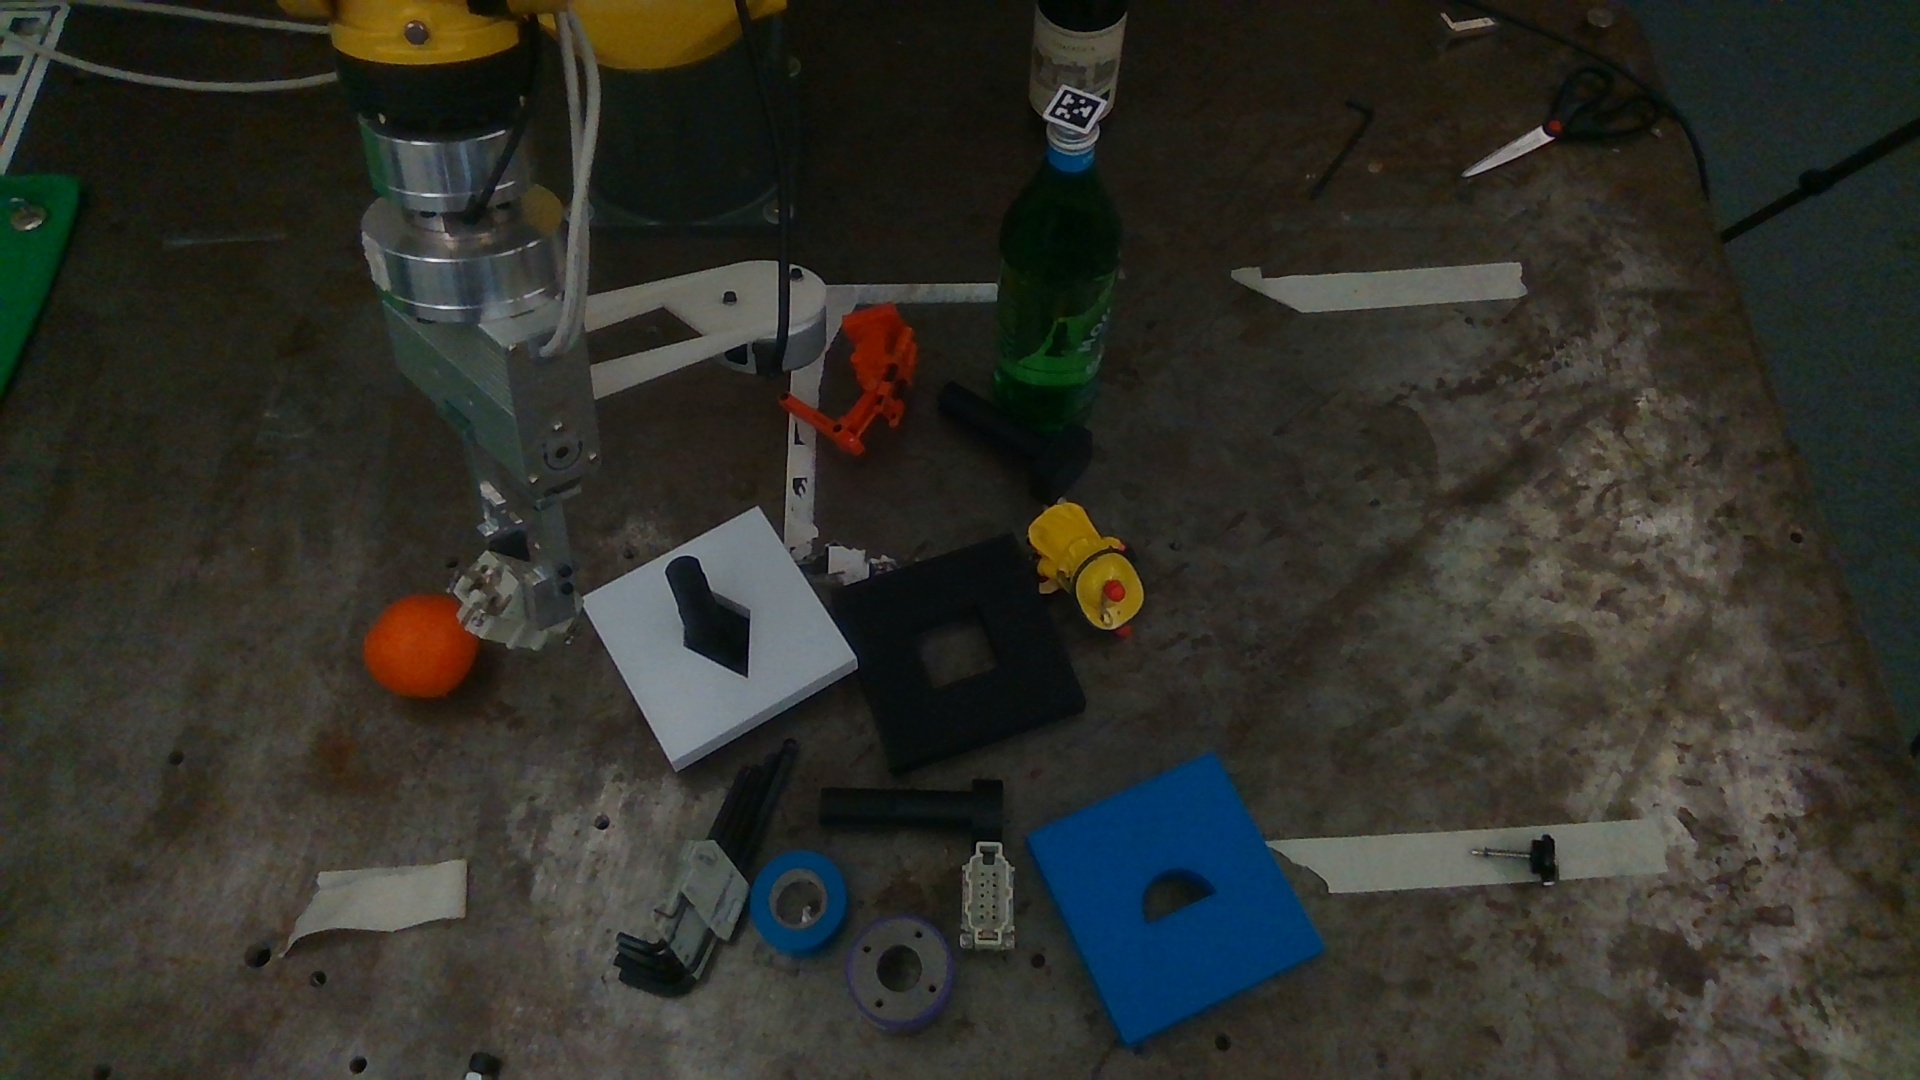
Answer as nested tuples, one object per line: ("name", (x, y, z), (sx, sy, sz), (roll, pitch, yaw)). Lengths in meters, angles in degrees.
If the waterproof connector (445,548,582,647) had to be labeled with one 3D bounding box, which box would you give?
("waterproof connector", (-0.234, 0.033, 0.730), (0.037, 0.069, 0.038), (34, 94, 35))
